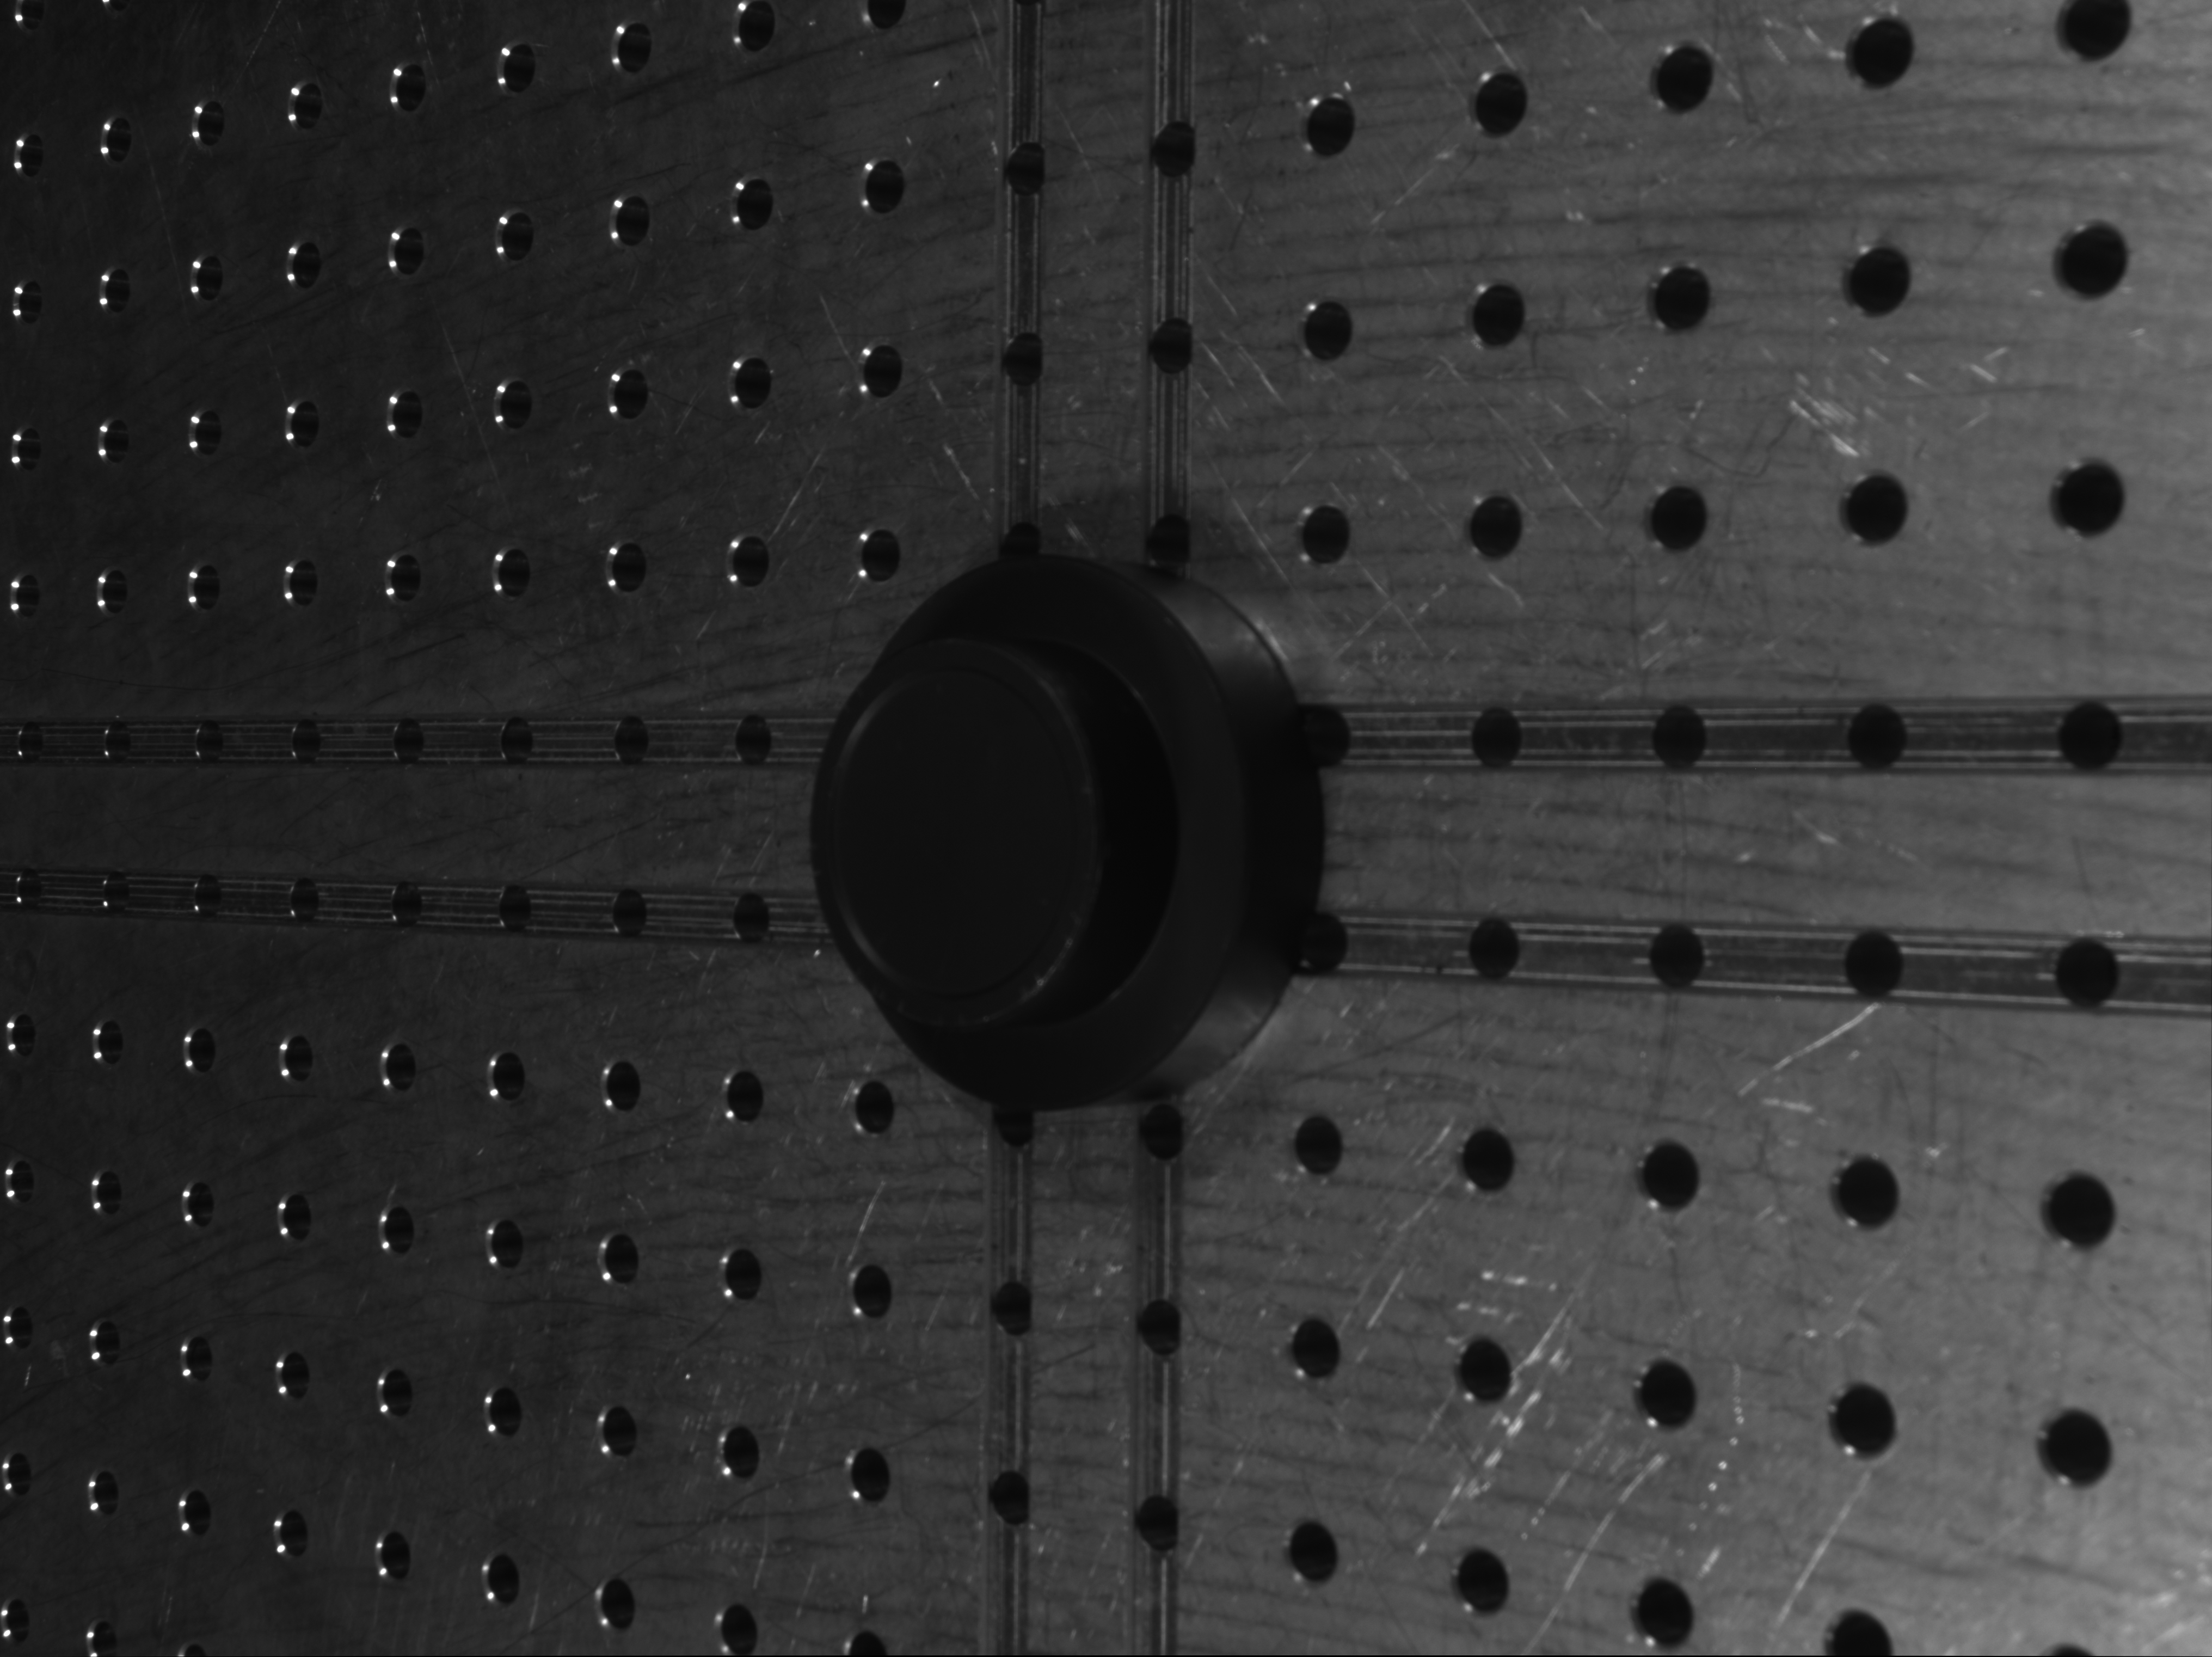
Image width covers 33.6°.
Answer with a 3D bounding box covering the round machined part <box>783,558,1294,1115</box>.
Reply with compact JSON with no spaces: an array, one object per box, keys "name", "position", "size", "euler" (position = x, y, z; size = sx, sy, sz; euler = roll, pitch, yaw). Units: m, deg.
[{"name":"round machined part","position":[-0.018,0.001,0.643],"size":[0.098,0.042,0.098],"euler":[0,90,39]}]
